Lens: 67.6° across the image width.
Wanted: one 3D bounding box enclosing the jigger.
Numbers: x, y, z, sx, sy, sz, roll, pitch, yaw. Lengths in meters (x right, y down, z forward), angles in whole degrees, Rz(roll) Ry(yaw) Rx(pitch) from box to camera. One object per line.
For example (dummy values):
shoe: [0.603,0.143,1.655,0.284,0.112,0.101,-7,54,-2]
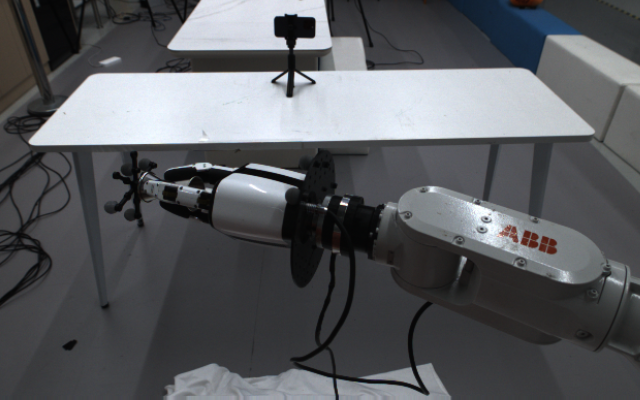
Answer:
jigger: [-0.178,-0.015,0.598,0.071,0.043,0.043,7,35,15]
